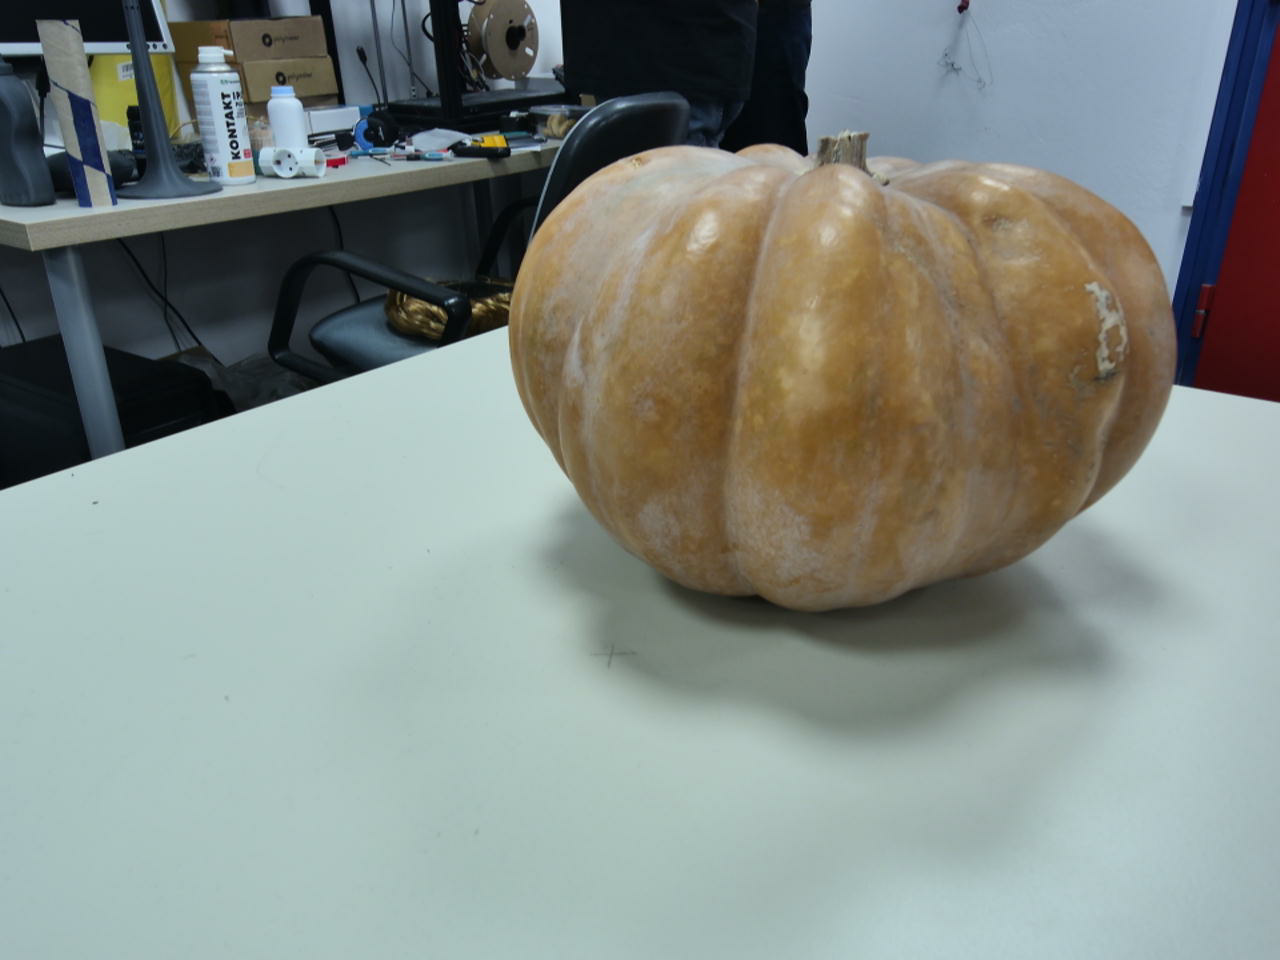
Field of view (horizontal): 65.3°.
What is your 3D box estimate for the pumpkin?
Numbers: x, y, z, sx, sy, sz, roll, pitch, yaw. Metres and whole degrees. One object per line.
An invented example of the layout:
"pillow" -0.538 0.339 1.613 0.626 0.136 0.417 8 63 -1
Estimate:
"pumpkin" 0.076 -0.055 0.435 0.277 0.181 0.277 0 23 0
